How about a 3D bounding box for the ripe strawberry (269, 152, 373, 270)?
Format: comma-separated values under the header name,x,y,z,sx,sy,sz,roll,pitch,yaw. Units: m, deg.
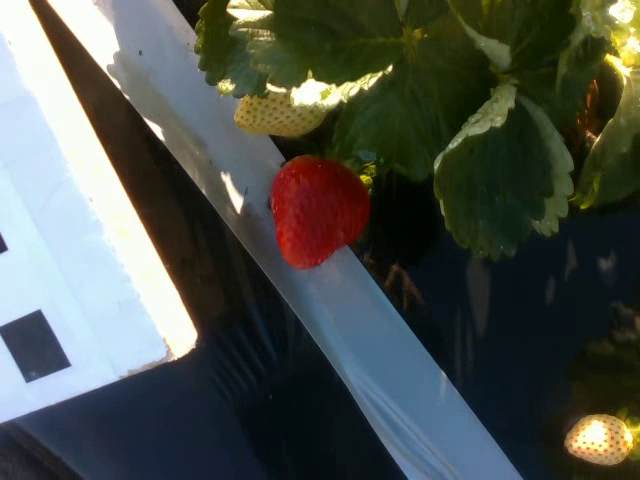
name,x,y,z,sx,sy,sz,roll,pitch,yaw
ripe strawberry,-0.003,-0.011,0.238,0.045,0.048,0.063,3,43,18
